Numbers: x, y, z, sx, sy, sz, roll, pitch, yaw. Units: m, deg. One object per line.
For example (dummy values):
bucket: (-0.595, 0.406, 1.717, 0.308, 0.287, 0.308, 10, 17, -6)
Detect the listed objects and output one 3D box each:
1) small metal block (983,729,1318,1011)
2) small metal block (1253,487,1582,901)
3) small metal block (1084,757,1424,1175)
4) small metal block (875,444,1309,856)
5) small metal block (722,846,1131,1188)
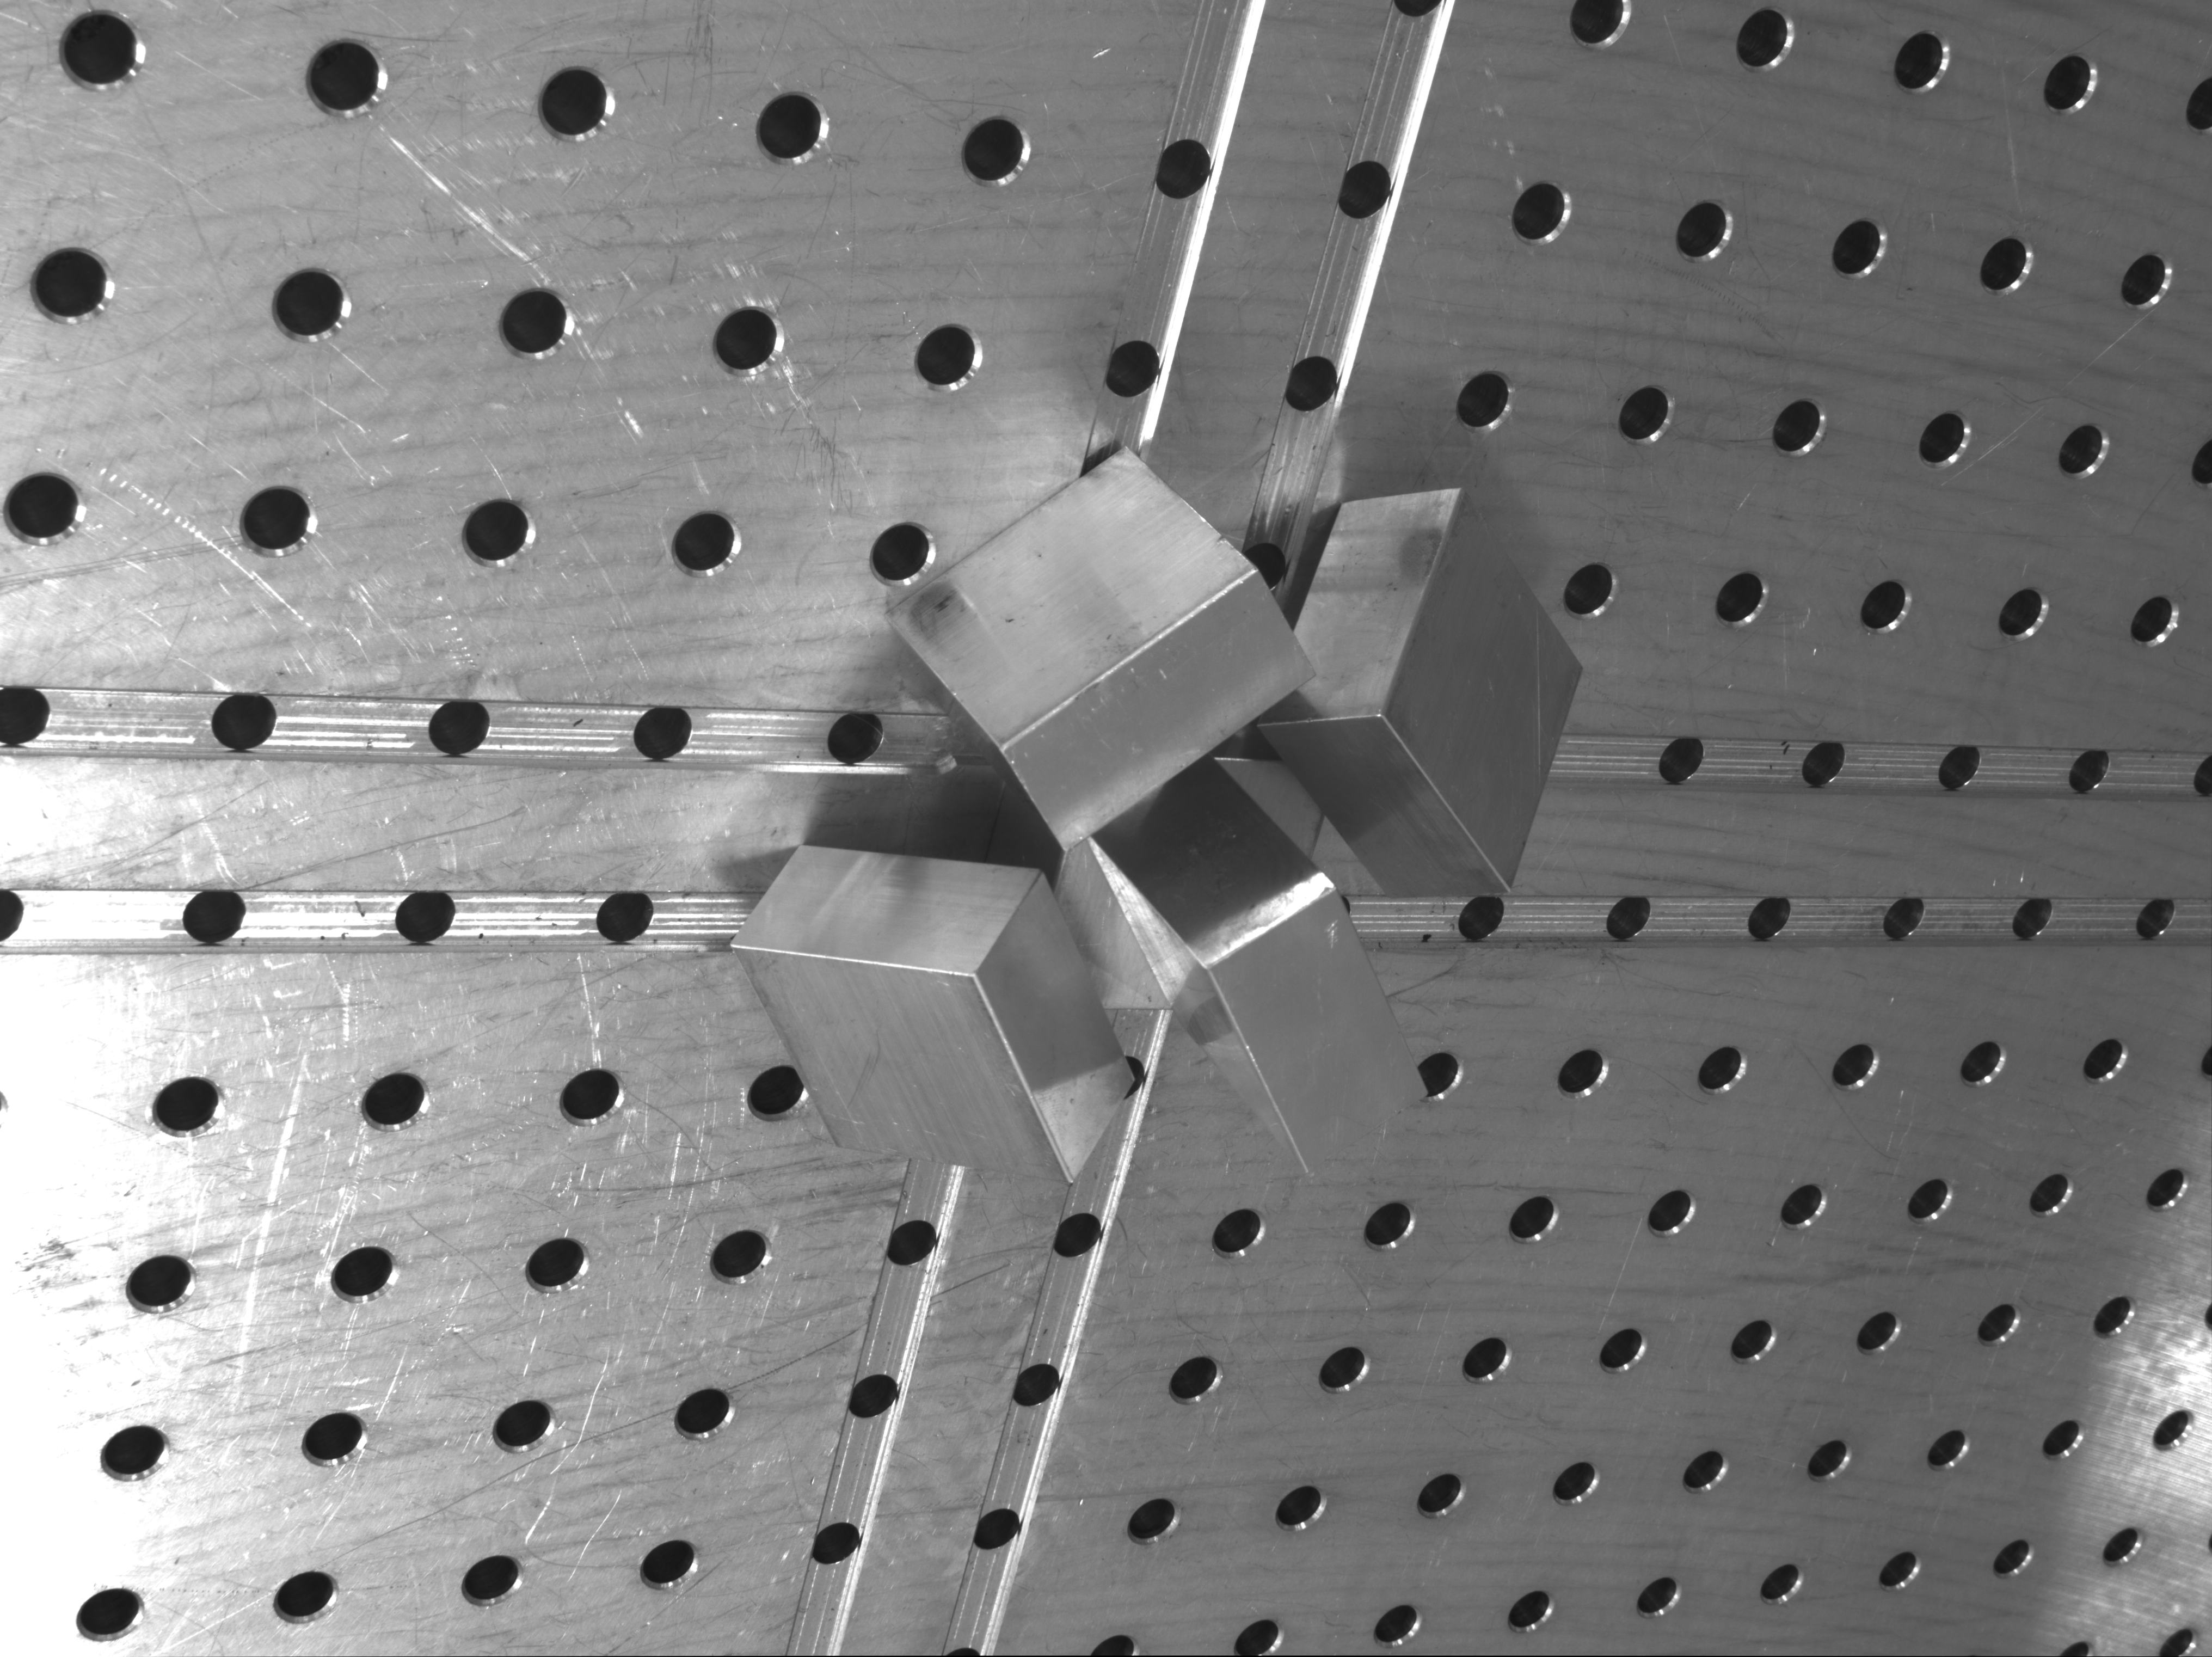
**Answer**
small metal block: (0.007, 0.004, 0.647, 0.050, 0.025, 0.050, 0, 118, -29)
small metal block: (0.055, -0.023, 0.639, 0.050, 0.025, 0.050, 50, 49, -39)
small metal block: (0.024, 0.022, 0.618, 0.025, 0.050, 0.050, -32, 129, -8)
small metal block: (-0.003, -0.030, 0.605, 0.050, 0.050, 0.025, -36, 129, -5)
small metal block: (-0.030, 0.032, 0.624, 0.025, 0.050, 0.050, -58, 139, -37)
